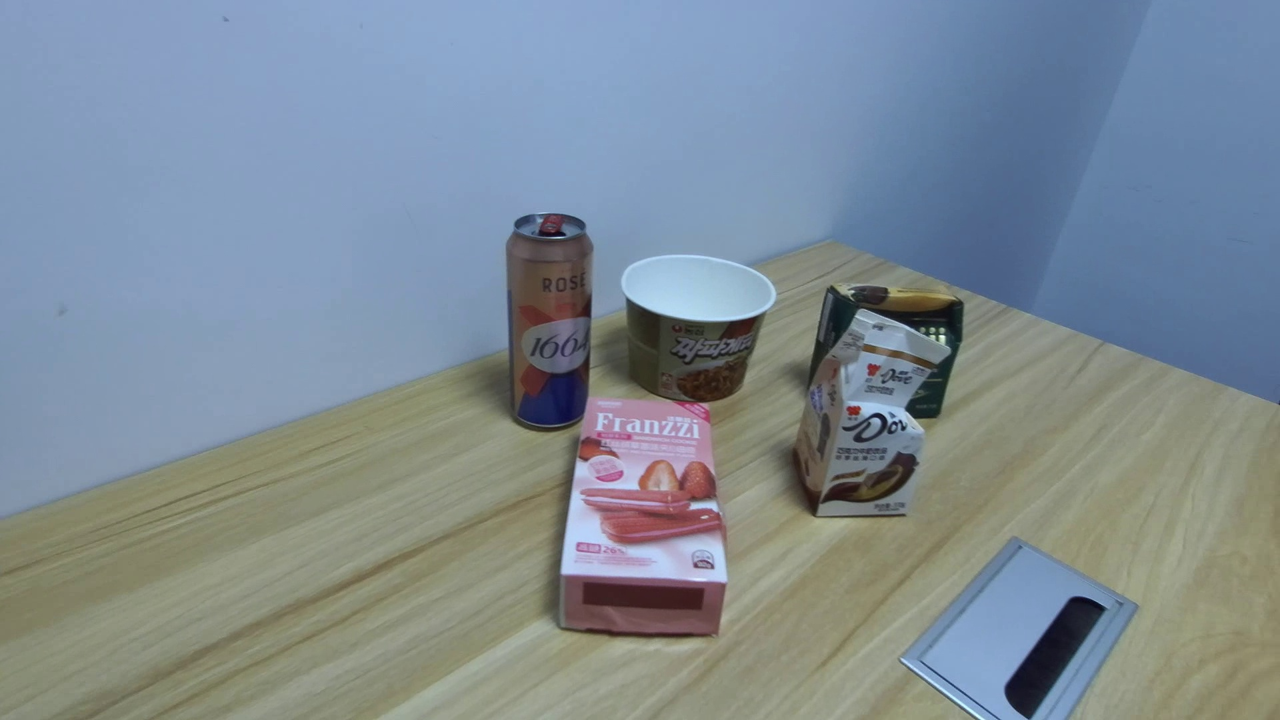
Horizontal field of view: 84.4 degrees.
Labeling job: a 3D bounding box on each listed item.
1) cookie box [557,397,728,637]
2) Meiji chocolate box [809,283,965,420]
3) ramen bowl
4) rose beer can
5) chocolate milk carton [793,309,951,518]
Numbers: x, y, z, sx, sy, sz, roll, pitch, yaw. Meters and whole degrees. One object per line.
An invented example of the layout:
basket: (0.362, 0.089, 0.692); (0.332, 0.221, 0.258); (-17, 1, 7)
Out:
cookie box: (0.007, 0.098, 0.485); (0.105, 0.049, 0.187); (4, 31, -1)
Meiji chocolate box: (0.219, -0.008, 0.630); (0.117, 0.117, 0.051); (0, 20, -12)
ramen bowl: (0.049, -0.028, 0.658); (0.140, 0.095, 0.140); (3, 31, -2)
rose beer can: (-0.073, -0.028, 0.573); (0.069, 0.169, 0.068); (4, 30, -2)
chocolate milk carton: (0.166, 0.033, 0.507); (0.076, 0.155, 0.073); (1, 33, -6)
